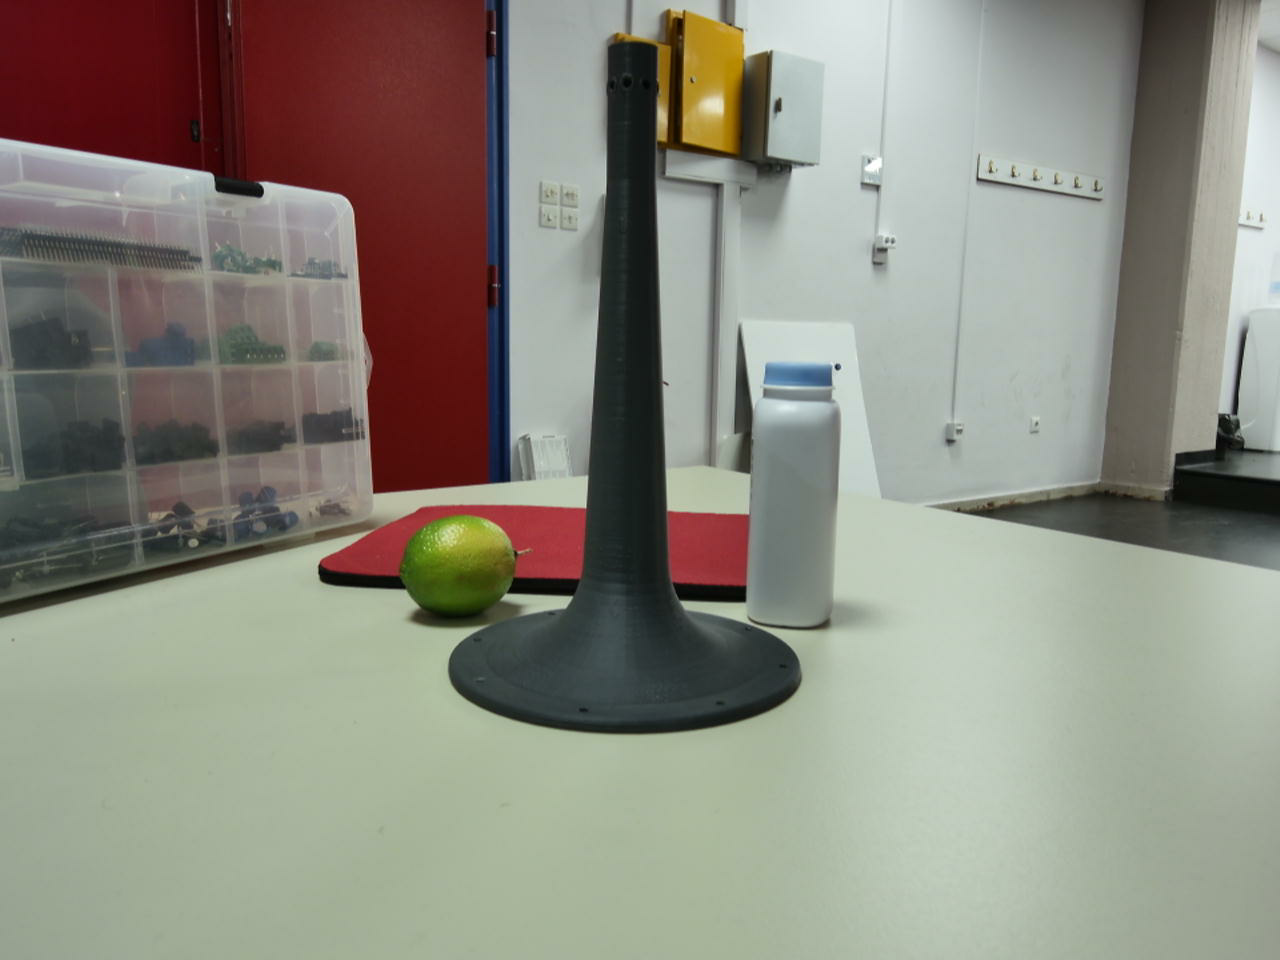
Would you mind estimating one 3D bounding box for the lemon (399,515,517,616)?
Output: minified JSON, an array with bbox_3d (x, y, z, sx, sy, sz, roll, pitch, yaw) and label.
[{"bbox_3d":[-0.091,0.043,0.505,0.055,0.050,0.054,1,7,13],"label":"lemon"}]
